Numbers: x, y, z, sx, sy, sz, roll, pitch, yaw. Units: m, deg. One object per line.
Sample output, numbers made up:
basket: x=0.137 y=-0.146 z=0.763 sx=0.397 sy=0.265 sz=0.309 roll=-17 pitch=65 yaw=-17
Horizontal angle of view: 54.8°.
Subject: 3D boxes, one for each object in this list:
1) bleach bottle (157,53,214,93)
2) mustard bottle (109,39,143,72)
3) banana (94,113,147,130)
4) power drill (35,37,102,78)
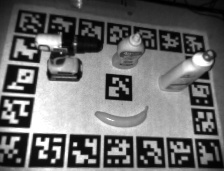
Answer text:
bleach bottle: x=0.249 y=-0.043 z=0.735 sx=0.103 sy=0.250 sz=0.068 roll=11 pitch=70 yaw=-8
mustard bottle: x=0.055 y=-0.106 z=0.746 sx=0.097 sy=0.191 sz=0.058 roll=-4 pitch=73 yaw=-14
banana: x=0.039 y=0.117 z=0.740 sx=0.198 sy=0.039 sz=0.074 roll=-2 pitch=75 yaw=-10
power drill: x=-0.125 y=-0.083 z=0.665 sx=0.185 sy=0.187 sz=0.057 roll=-3 pitch=72 yaw=-9
